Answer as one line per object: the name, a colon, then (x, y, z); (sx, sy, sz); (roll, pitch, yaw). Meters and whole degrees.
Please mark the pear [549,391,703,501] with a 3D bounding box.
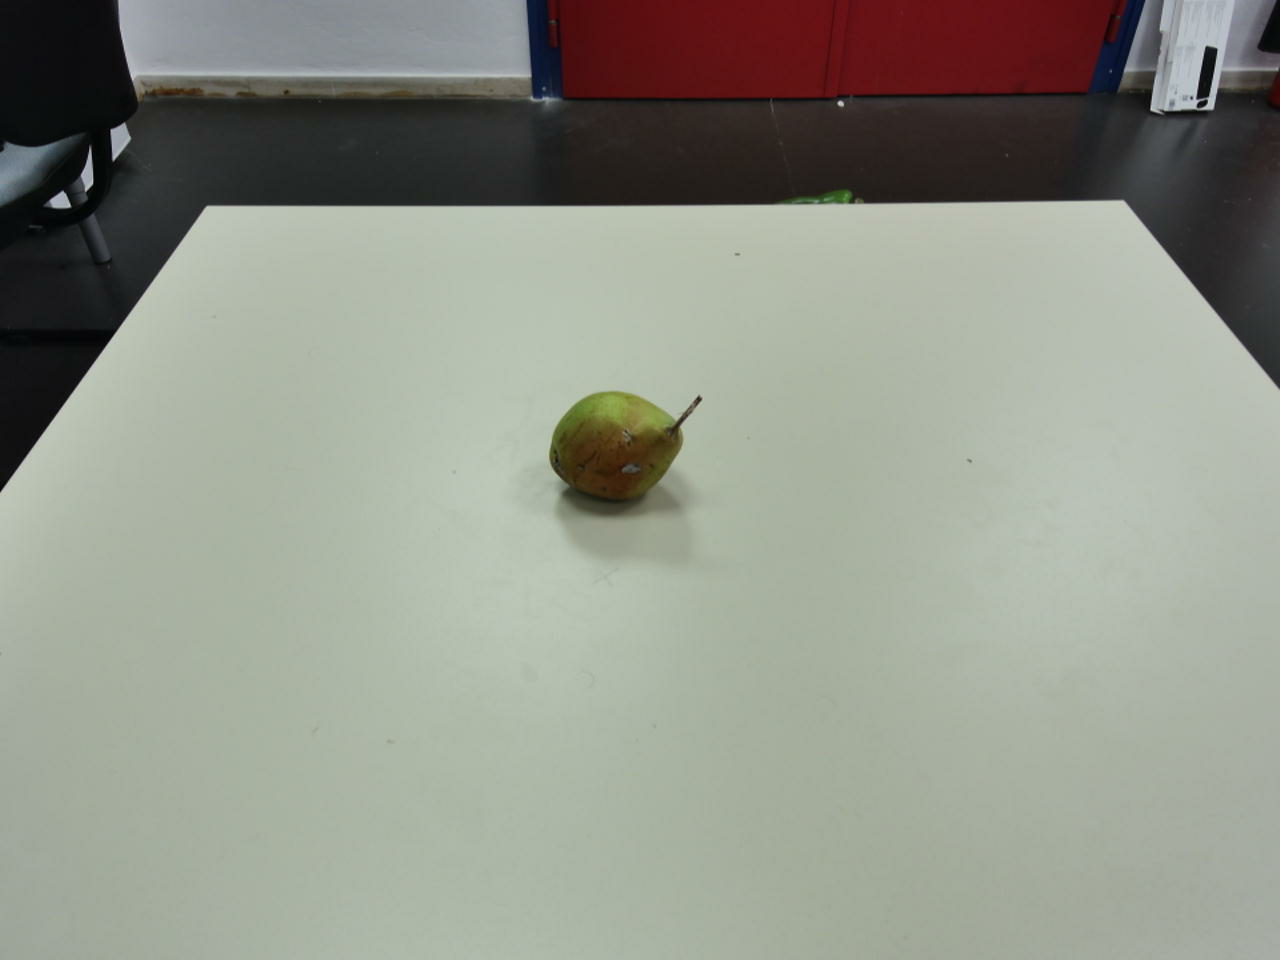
pear: (-0.013, -0.021, 0.570); (0.068, 0.069, 0.070); (-28, 46, -29)
